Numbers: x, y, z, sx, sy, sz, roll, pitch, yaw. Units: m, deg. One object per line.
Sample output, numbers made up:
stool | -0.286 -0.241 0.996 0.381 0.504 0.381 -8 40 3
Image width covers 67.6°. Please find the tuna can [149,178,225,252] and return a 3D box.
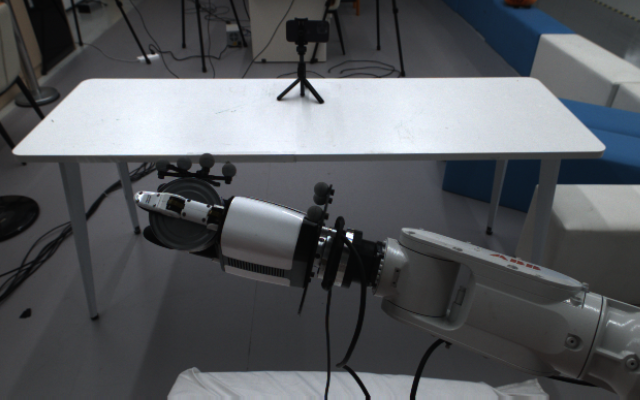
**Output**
tuna can | -0.153 0.018 0.570 0.085 0.034 0.085 0 77 -1
